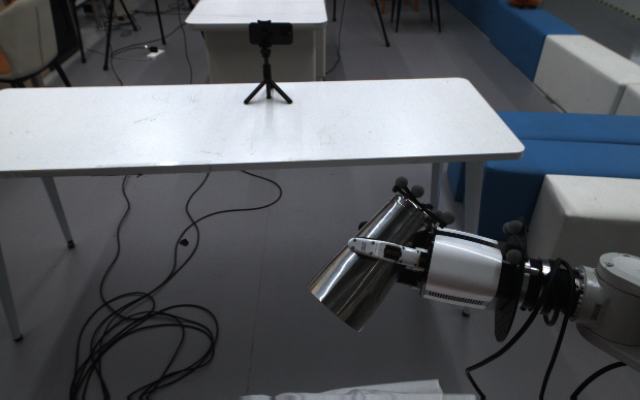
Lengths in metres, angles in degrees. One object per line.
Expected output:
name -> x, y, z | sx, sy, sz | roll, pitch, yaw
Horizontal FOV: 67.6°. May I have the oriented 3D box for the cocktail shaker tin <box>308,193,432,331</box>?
cocktail shaker tin -> 0.073, 0.073, 0.641 | 0.170, 0.093, 0.093 | -48, 49, -3
